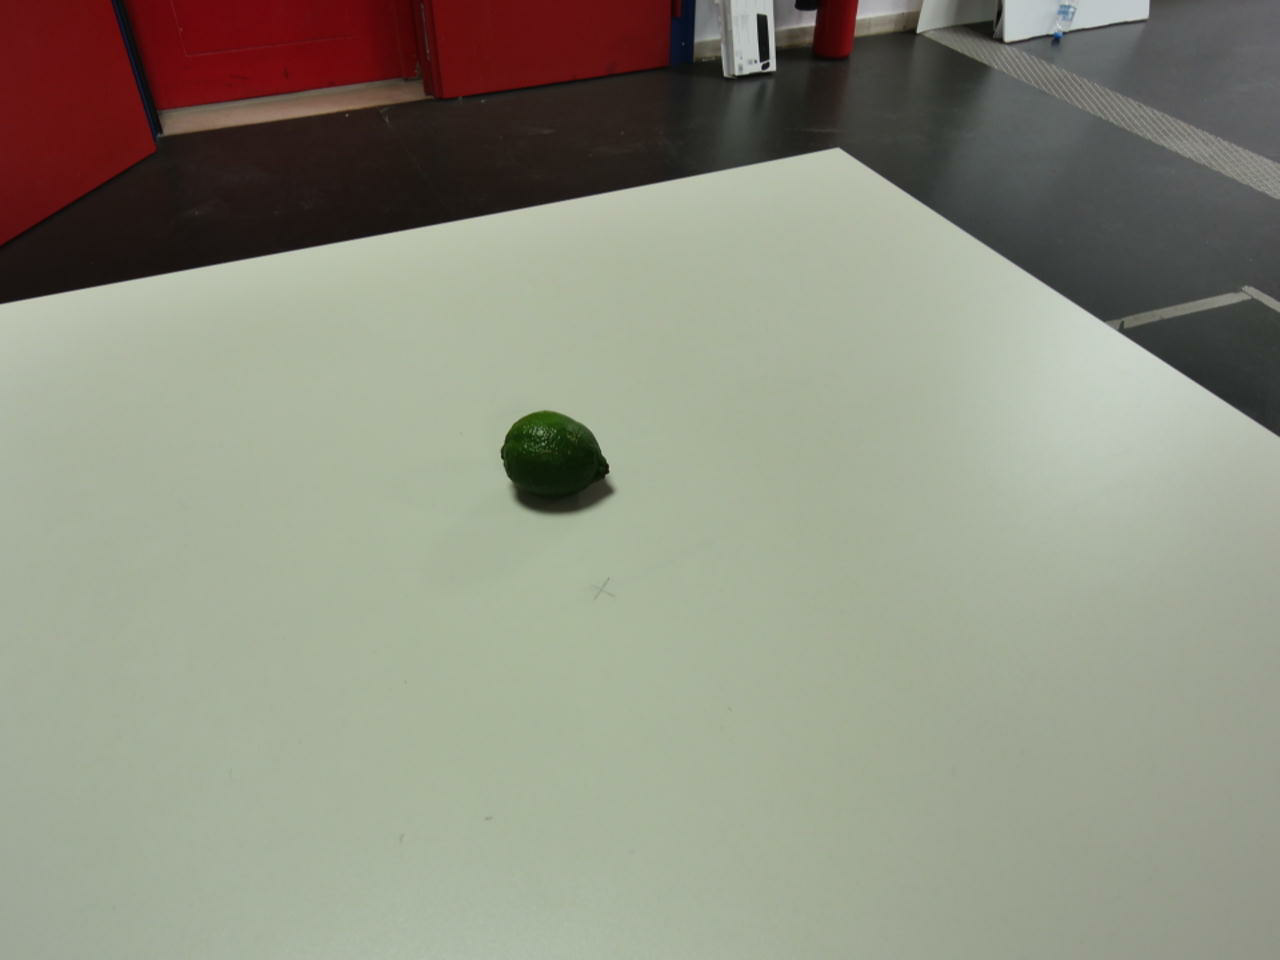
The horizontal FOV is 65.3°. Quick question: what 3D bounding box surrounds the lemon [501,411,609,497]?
[{"bbox_3d":[-0.053,-0.016,0.590,0.057,0.051,0.054,-19,43,-22],"label":"lemon"}]
